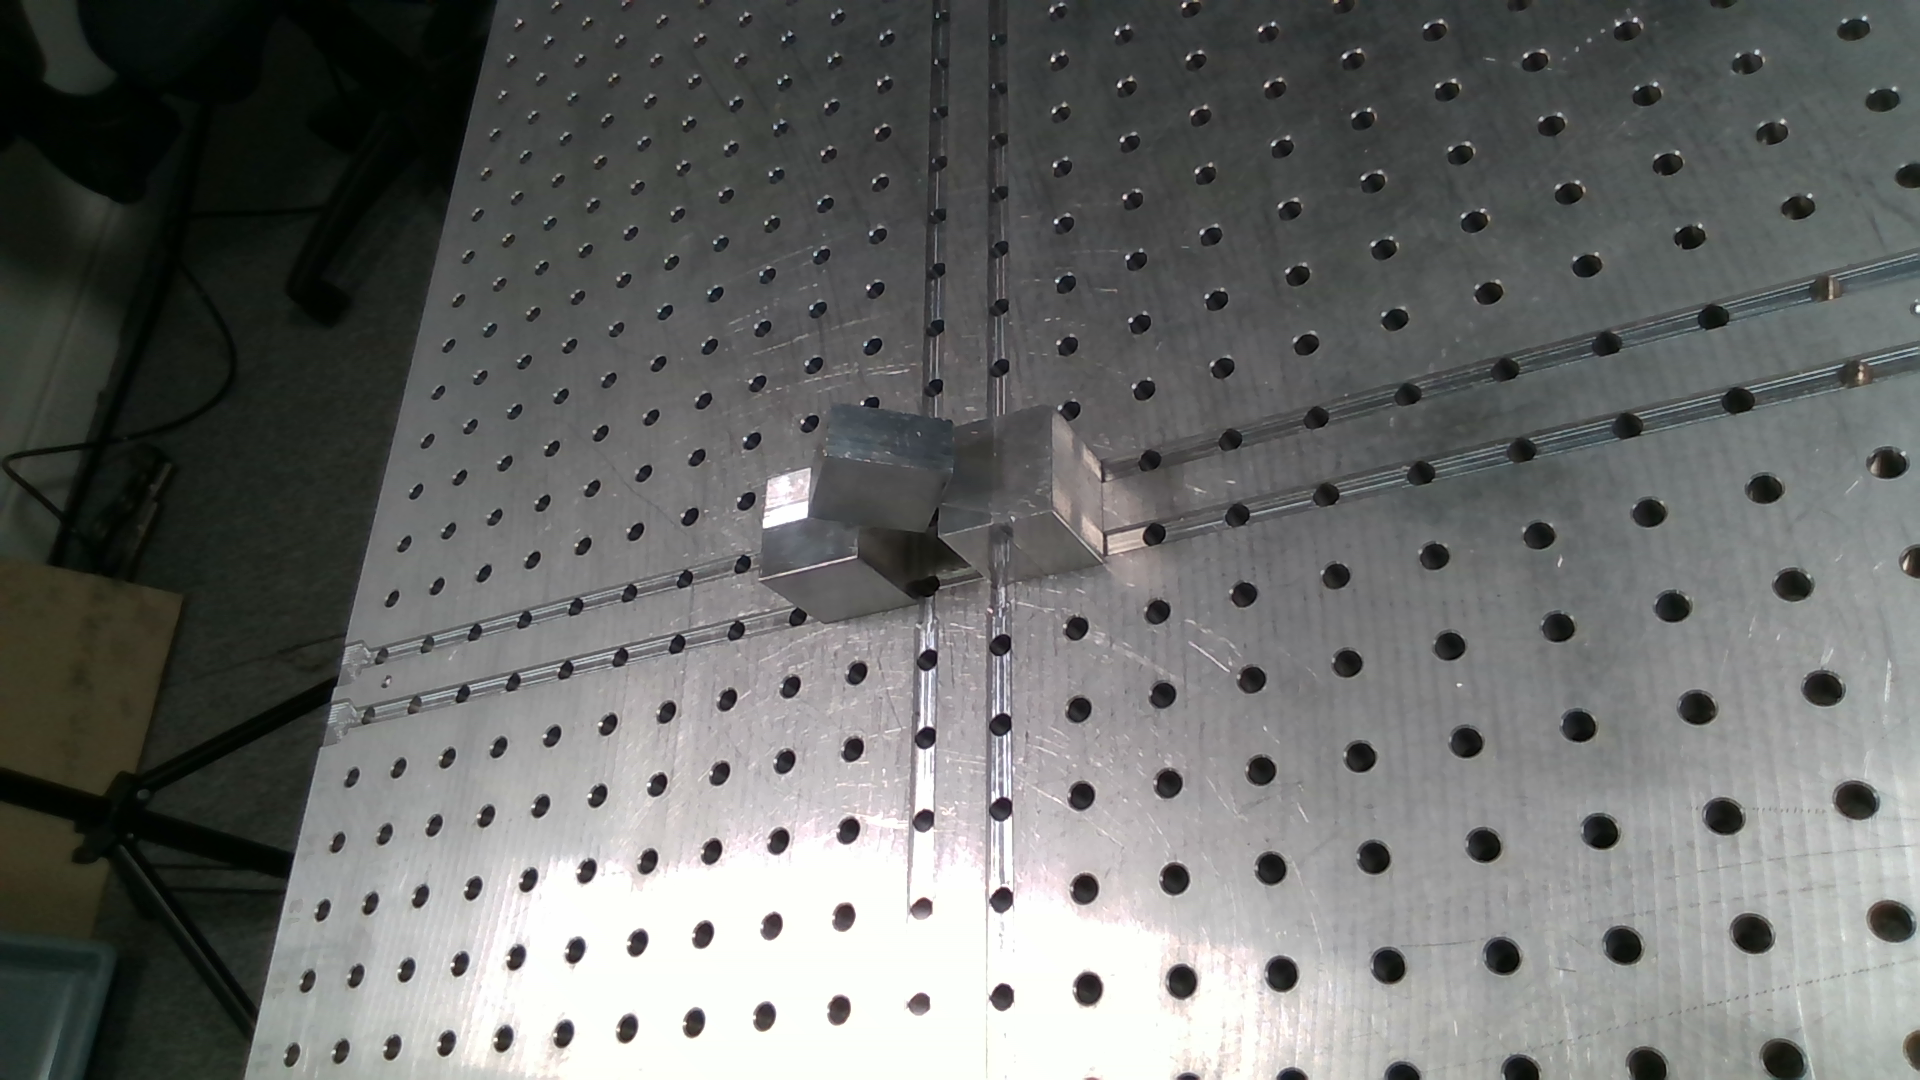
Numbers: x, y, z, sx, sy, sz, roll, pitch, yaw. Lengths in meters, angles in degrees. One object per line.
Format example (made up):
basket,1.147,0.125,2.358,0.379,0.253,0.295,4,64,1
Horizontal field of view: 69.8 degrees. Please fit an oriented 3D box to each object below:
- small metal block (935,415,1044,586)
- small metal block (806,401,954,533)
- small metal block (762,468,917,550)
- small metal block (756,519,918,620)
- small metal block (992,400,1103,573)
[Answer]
small metal block,0.014,-0.016,0.571,0.025,0.050,0.050,-12,60,26
small metal block,-0.033,-0.028,0.554,0.050,0.050,0.025,7,61,-12
small metal block,-0.052,-0.011,0.610,0.050,0.050,0.025,-13,59,26
small metal block,-0.052,0.011,0.597,0.050,0.050,0.025,-13,59,26
small metal block,0.036,-0.021,0.560,0.025,0.050,0.050,-12,60,26
